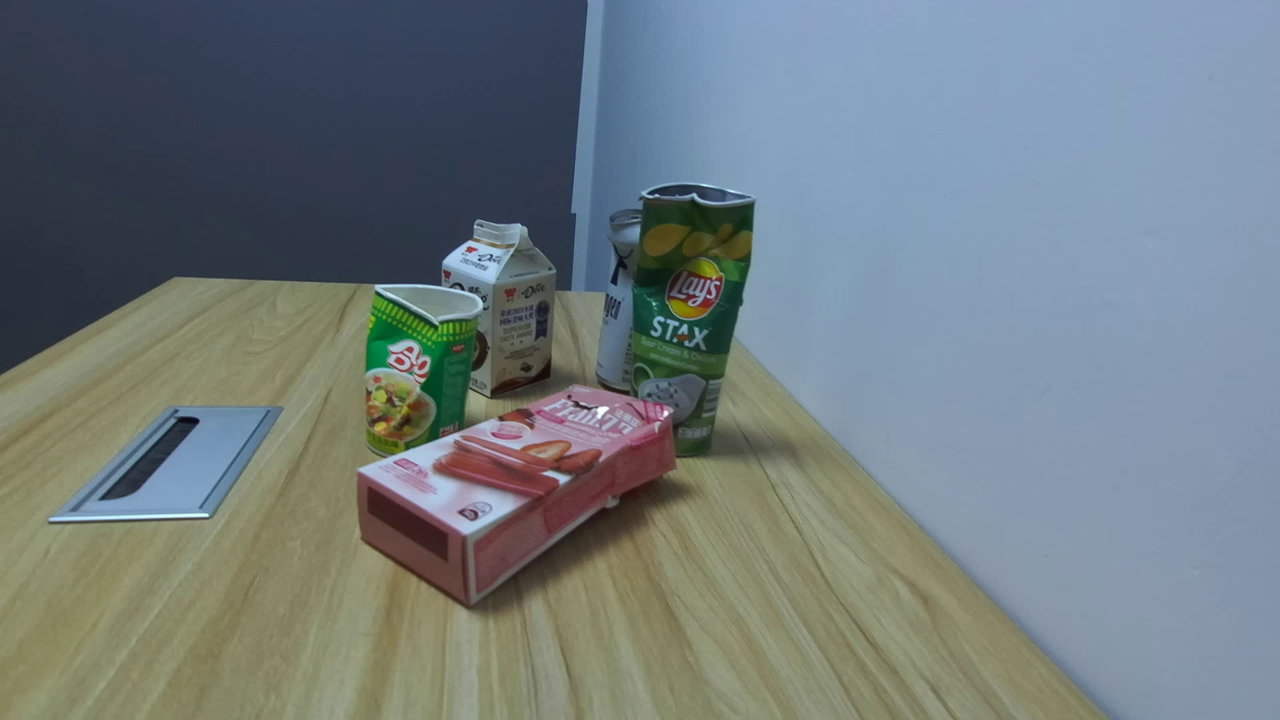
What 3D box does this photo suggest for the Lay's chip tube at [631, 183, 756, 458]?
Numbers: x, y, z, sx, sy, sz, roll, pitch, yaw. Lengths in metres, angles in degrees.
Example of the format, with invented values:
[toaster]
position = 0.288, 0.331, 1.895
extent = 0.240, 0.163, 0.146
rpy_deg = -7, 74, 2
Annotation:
[Lay's chip tube]
position = 0.033, -0.030, 0.536
extent = 0.077, 0.201, 0.069
rpy_deg = 0, 21, -8

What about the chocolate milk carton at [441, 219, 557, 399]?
[chocolate milk carton]
position = -0.126, -0.052, 0.633
extent = 0.075, 0.148, 0.074
rpy_deg = 23, 28, 35

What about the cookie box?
[cookie box]
position = -0.070, 0.074, 0.448
extent = 0.104, 0.059, 0.186
rpy_deg = 16, 26, 35

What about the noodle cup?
[noodle cup]
position = -0.161, 0.009, 0.515
extent = 0.075, 0.122, 0.082
rpy_deg = 5, 10, -20
